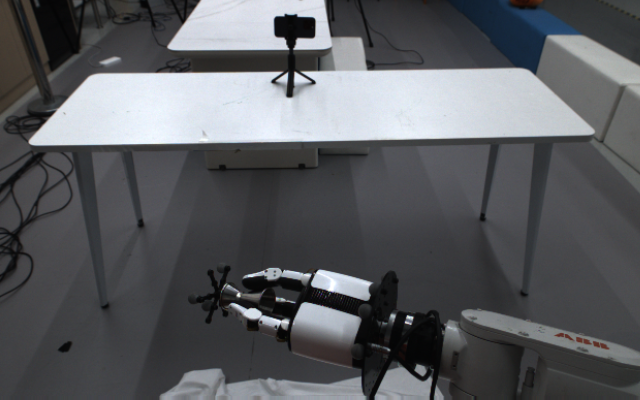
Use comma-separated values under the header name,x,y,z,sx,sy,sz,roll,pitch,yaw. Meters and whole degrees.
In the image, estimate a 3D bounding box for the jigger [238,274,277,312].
name,x,y,z,sx,sy,sz,roll,pitch,yaw
jigger,-0.095,0.135,0.690,0.071,0.043,0.043,3,32,25
